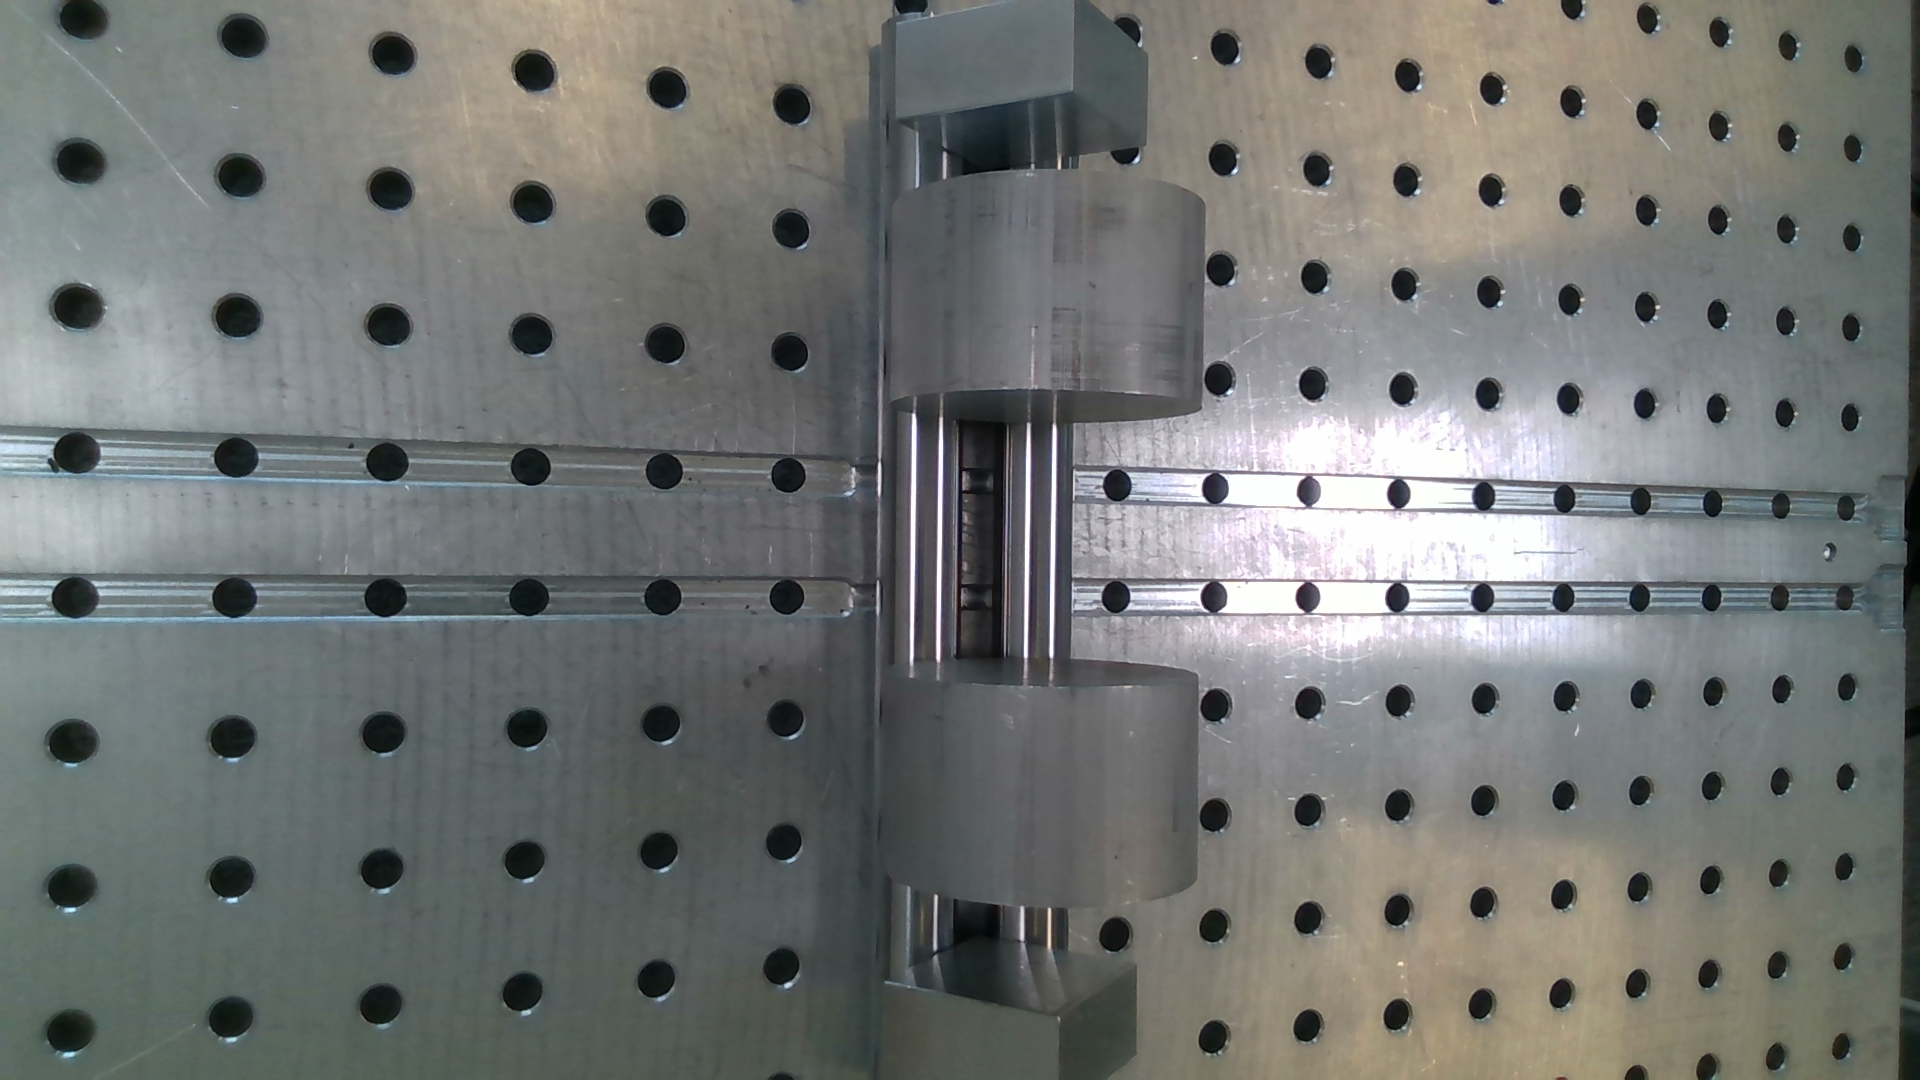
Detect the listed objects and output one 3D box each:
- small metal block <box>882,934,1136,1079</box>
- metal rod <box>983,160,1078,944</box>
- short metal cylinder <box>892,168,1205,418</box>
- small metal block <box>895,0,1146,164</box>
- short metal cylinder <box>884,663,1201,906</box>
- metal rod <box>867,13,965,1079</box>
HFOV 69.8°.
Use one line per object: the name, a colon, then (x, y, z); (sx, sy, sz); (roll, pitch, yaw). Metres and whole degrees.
small metal block: (0.014, 0.126, 0.365); (0.050, 0.050, 0.025); (2, 88, -61)
metal rod: (0.021, 0.008, 0.404); (0.025, 0.025, 0.300); (1, 90, -20)
short metal cylinder: (0.022, -0.059, 0.352); (0.080, 0.080, 0.050); (1, 90, -20)
small metal block: (0.017, -0.120, 0.365); (0.050, 0.050, 0.025); (2, 89, -62)
short metal cylinder: (0.021, 0.058, 0.352); (0.080, 0.080, 0.050); (1, 90, -20)
metal rod: (-0.012, 0.005, 0.392); (0.025, 0.025, 0.300); (1, 90, -20)
